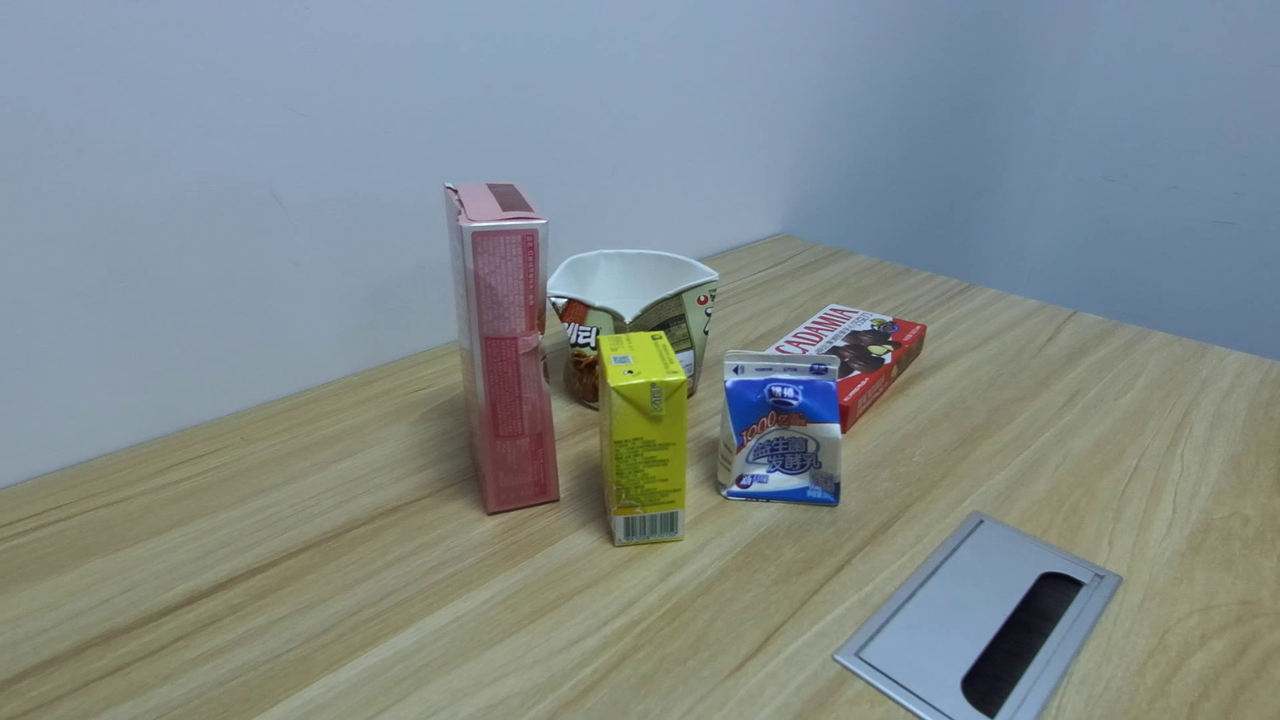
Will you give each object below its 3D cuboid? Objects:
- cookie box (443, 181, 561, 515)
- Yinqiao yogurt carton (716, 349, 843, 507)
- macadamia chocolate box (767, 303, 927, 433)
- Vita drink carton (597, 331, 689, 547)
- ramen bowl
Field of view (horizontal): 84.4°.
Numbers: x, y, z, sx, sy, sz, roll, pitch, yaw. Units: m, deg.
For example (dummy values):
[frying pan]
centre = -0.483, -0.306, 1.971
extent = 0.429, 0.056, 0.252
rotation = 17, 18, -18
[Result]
[cookie box]
centre = -0.084, -0.008, 0.438
extent = 0.049, 0.187, 0.105
rotation = -8, 27, -17
[Yinqiao yogurt carton]
centre = 0.090, 0.035, 0.452
extent = 0.077, 0.094, 0.071
rotation = 2, 32, 7
[macadamia chocolate box]
centre = 0.168, 0.000, 0.603
extent = 0.095, 0.027, 0.178
rotation = 18, 32, 34
[Vita drink carton]
centre = 0.000, 0.045, 0.417
extent = 0.043, 0.109, 0.066
rotation = -5, 27, -9
[ramen bowl]
centre = -0.003, -0.029, 0.578
extent = 0.137, 0.098, 0.137
rotation = 1, 27, 0
